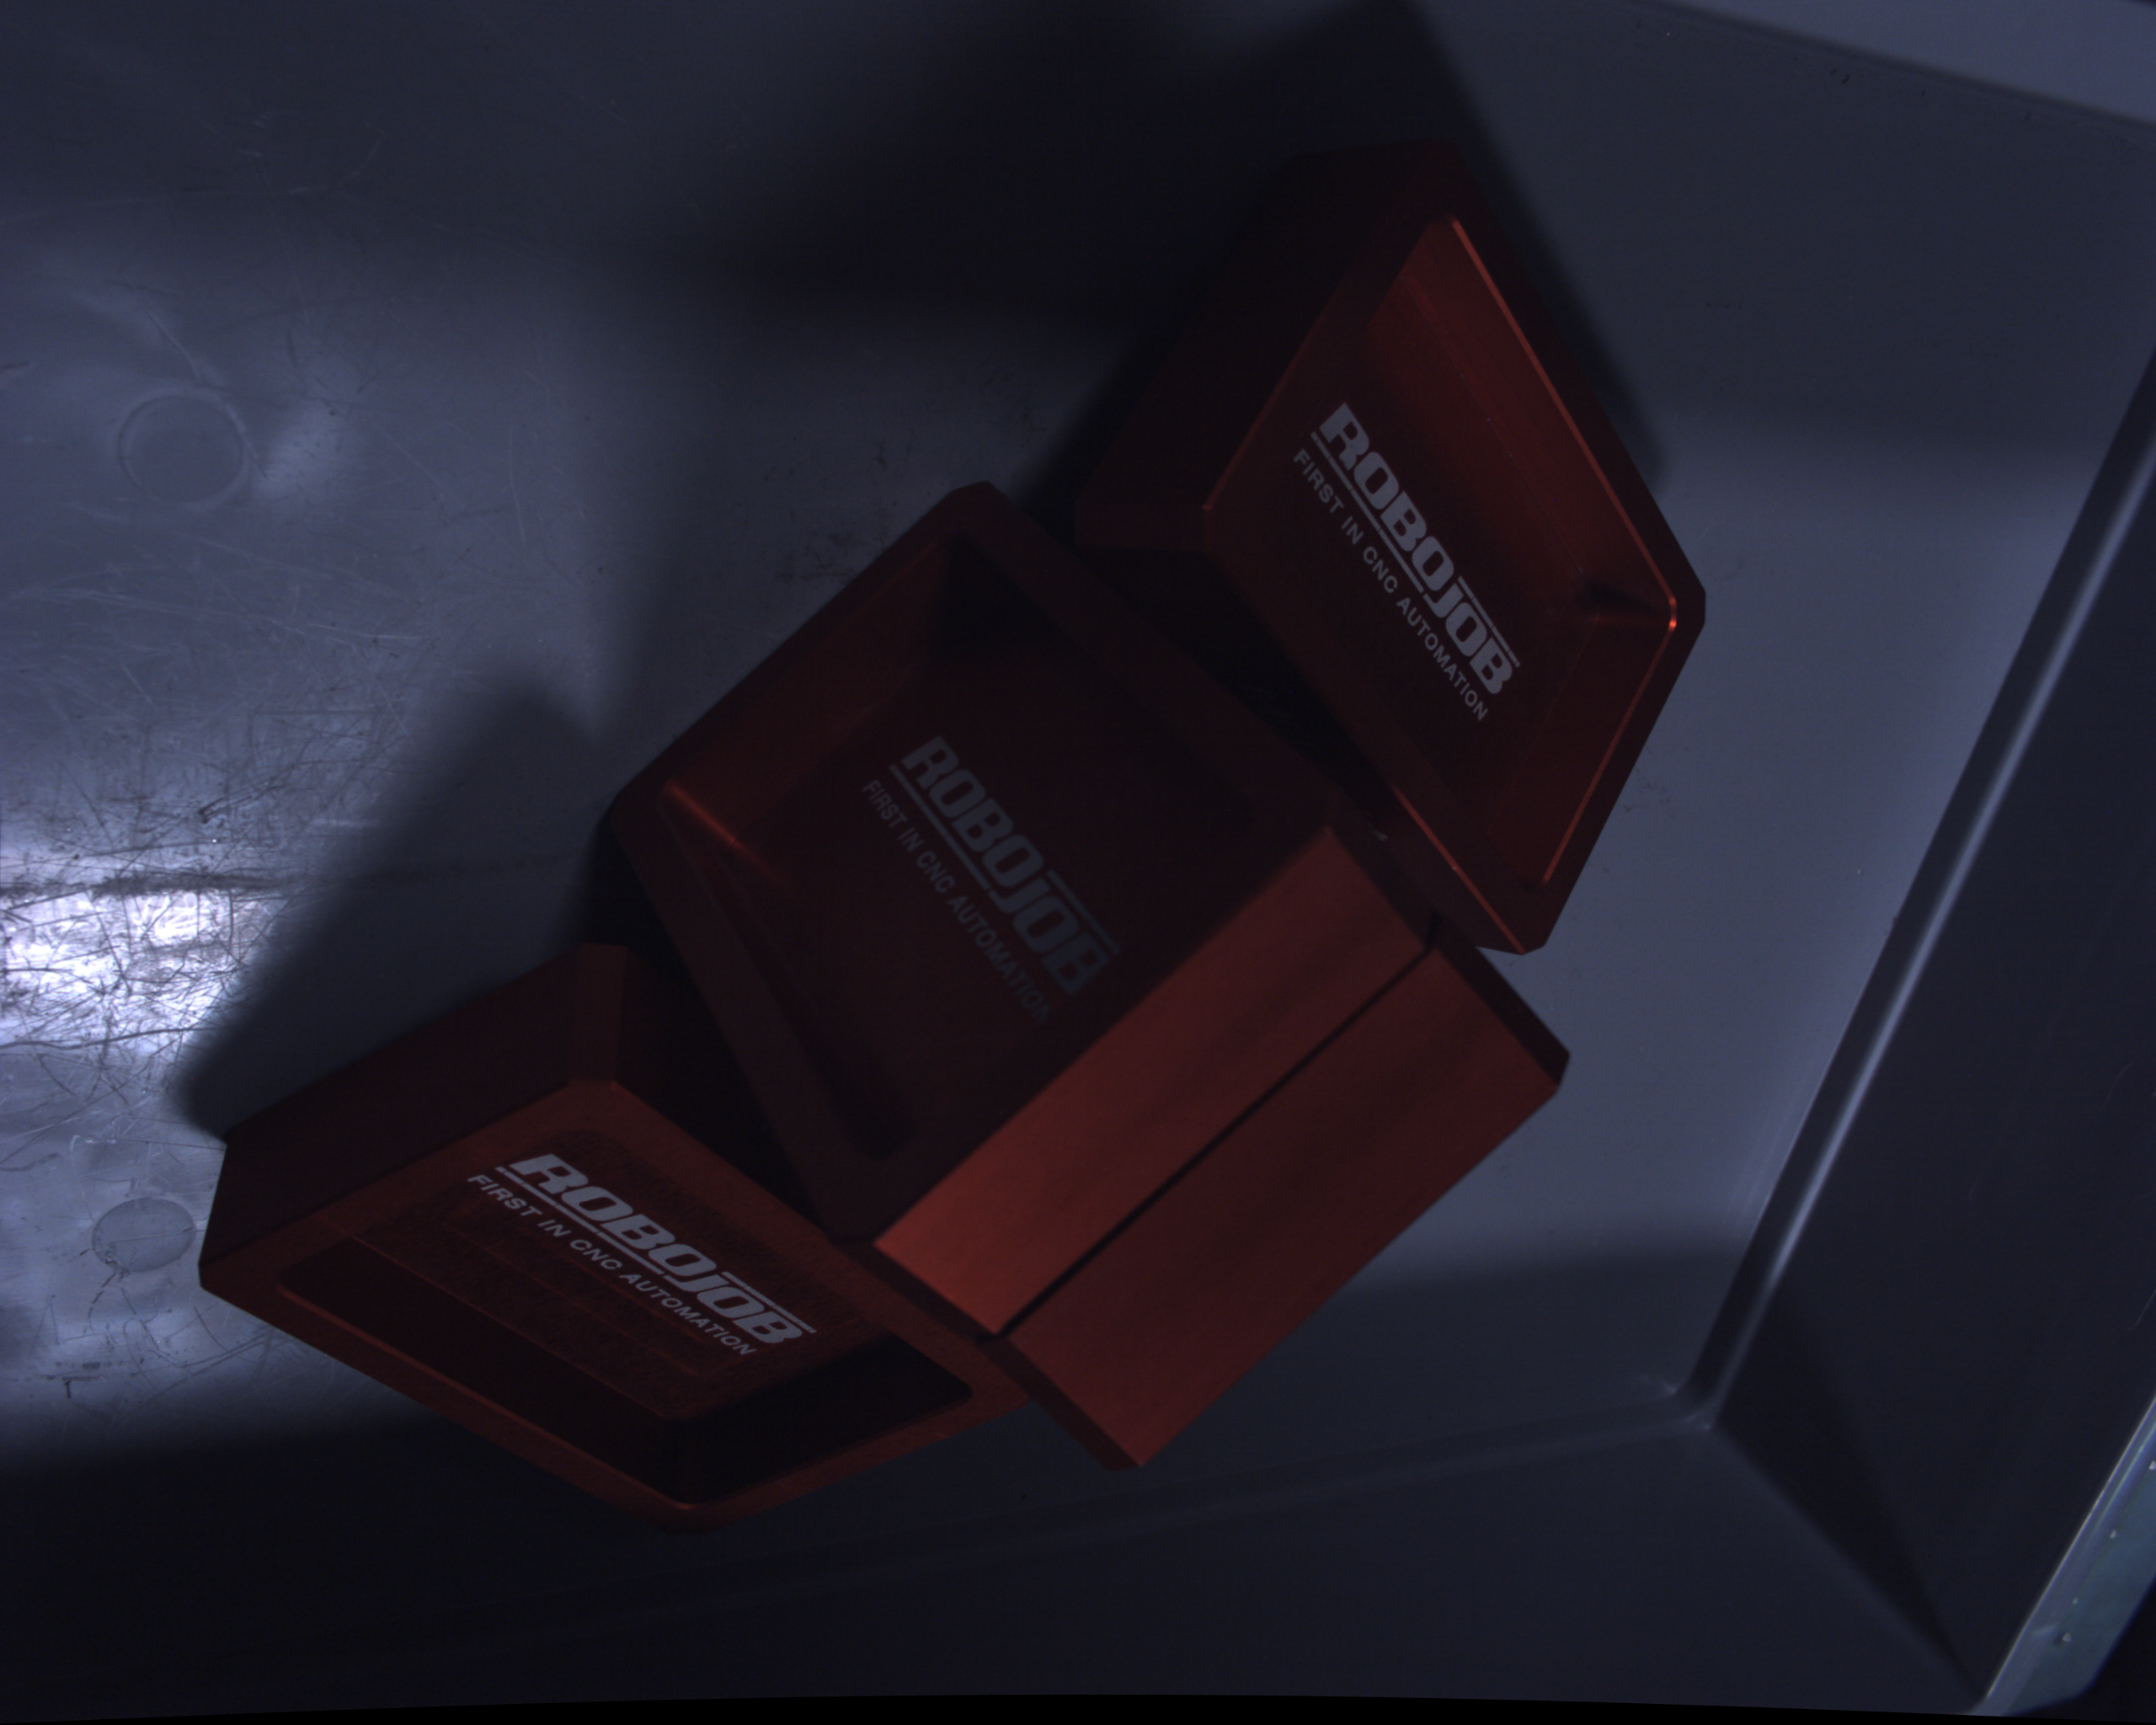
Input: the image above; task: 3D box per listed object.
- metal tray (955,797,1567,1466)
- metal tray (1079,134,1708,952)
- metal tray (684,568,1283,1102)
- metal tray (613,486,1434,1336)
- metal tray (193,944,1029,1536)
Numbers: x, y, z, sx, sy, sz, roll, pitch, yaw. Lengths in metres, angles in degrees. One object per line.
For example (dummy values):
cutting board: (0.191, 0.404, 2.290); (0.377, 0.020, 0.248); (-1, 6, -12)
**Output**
metal tray: (0.017, 0.035, 0.355); (0.090, 0.130, 0.030); (-42, 106, 0)
metal tray: (0.065, -0.054, 0.384); (0.130, 0.030, 0.090); (46, 66, -39)
metal tray: (0.000, 0.014, 0.413); (0.130, 0.030, 0.090); (-43, 130, 1)
metal tray: (-0.016, 0.000, 0.329); (0.090, 0.130, 0.030); (-42, 129, 1)
metal tray: (-0.080, 0.076, 0.385); (0.090, 0.030, 0.130); (-27, 133, 19)
